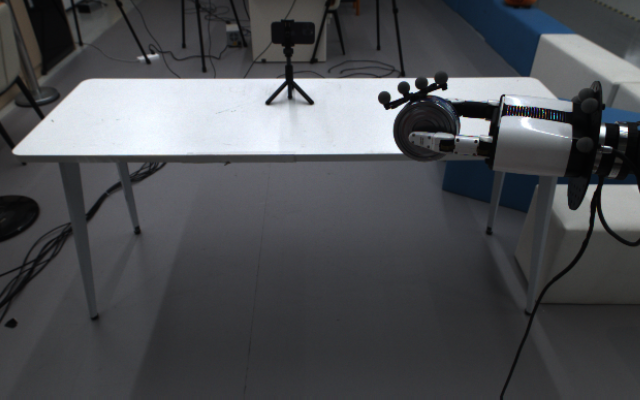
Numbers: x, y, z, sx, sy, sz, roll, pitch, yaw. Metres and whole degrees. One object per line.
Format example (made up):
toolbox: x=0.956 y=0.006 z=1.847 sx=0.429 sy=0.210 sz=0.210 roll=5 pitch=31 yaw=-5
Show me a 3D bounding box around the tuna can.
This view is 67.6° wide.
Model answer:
tuna can: x=0.145 y=-0.098 z=0.654 sx=0.085 sy=0.085 sz=0.034 roll=15 pitch=29 yaw=17
